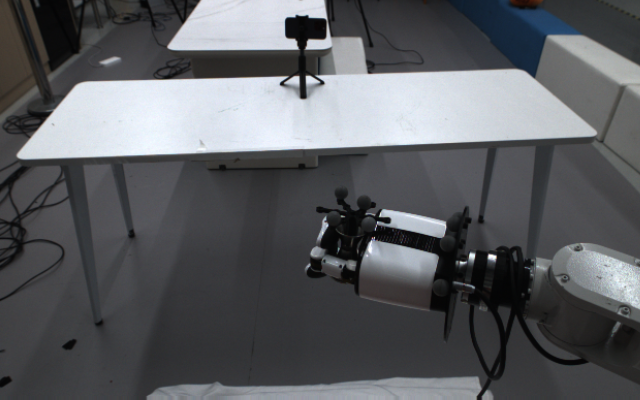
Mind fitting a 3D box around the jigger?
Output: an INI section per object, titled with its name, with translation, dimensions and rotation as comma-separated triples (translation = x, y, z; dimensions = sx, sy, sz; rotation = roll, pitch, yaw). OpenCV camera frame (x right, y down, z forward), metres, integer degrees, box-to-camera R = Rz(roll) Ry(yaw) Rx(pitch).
[jigger]
translation = 0.036, 0.063, 0.600
dimensions = 0.043, 0.071, 0.043
rotation = 6, 26, -3
